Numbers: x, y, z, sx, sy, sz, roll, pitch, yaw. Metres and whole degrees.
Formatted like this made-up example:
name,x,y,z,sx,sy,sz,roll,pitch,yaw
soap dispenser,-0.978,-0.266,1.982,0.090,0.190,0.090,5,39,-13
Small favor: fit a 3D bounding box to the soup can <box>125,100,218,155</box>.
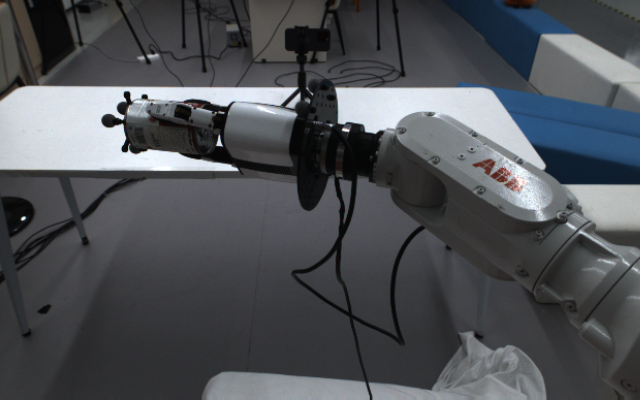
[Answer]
name,x,y,z,sx,sy,sz,roll,pitch,yaw
soup can,-0.192,-0.096,0.634,0.101,0.067,0.067,6,35,11
